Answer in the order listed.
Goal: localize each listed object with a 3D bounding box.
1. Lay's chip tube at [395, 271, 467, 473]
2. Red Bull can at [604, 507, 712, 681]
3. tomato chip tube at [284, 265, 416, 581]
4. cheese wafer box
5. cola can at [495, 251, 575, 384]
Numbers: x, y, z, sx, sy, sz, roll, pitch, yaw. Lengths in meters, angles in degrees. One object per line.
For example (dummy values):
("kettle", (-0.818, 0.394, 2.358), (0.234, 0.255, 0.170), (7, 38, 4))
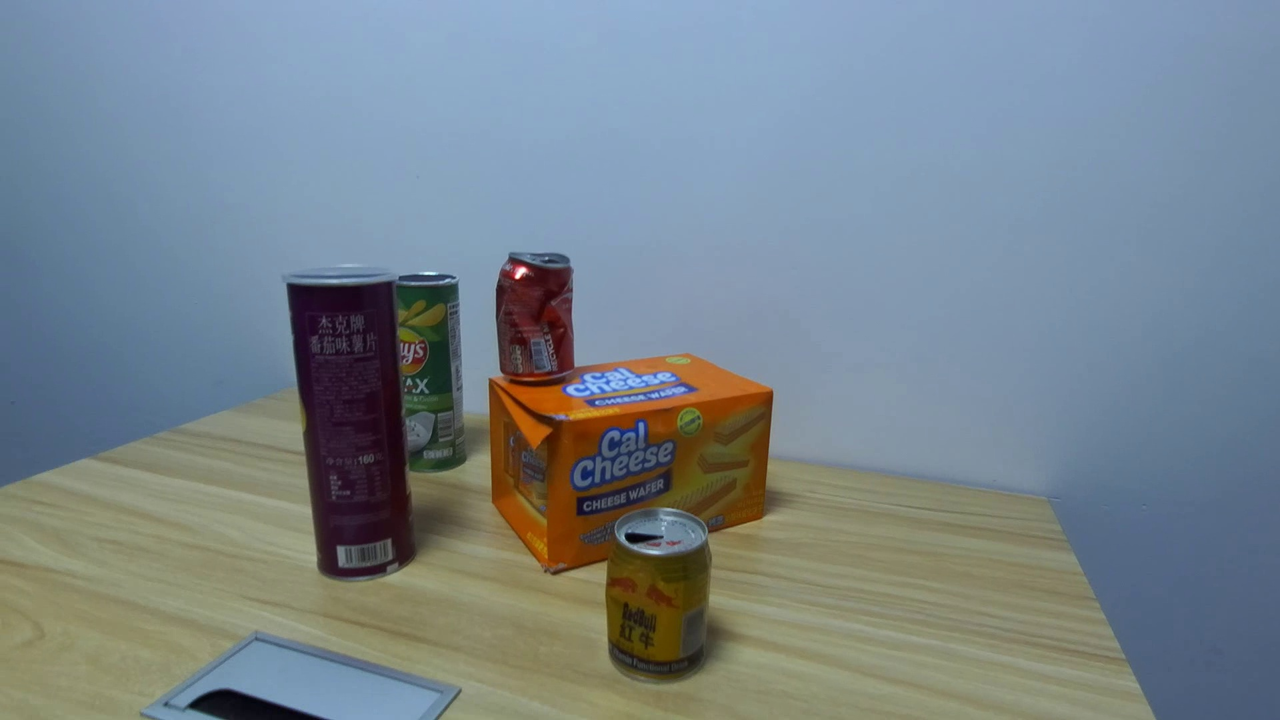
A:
("Lay's chip tube", (-0.223, 0.013, 0.748), (0.071, 0.202, 0.071), (1, 15, 0))
("Red Bull can", (0.012, 0.151, 0.460), (0.069, 0.092, 0.069), (2, 17, 0))
("tomato chip tube", (-0.221, 0.050, 0.549), (0.078, 0.233, 0.078), (1, 15, 0))
("cheese wafer box", (-0.012, 0.079, 0.649), (0.228, 0.137, 0.149), (-7, 18, -29))
("cola can", (-0.092, -0.038, 0.624), (0.069, 0.112, 0.065), (-1, 16, -11))
